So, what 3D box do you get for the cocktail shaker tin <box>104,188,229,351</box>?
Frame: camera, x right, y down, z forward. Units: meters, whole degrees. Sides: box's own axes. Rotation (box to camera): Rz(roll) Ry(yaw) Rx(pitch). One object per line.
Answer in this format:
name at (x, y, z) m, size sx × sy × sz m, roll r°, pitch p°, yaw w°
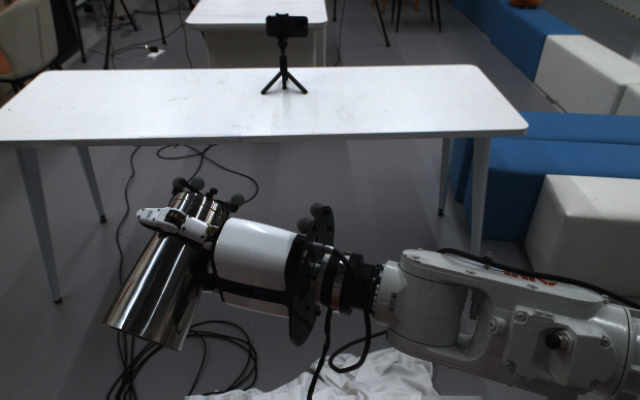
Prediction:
cocktail shaker tin at (-0.169, 0.077, 0.567) m, size 0.093 × 0.093 × 0.170 m, roll 13°, pitch 65°, yaw 15°
